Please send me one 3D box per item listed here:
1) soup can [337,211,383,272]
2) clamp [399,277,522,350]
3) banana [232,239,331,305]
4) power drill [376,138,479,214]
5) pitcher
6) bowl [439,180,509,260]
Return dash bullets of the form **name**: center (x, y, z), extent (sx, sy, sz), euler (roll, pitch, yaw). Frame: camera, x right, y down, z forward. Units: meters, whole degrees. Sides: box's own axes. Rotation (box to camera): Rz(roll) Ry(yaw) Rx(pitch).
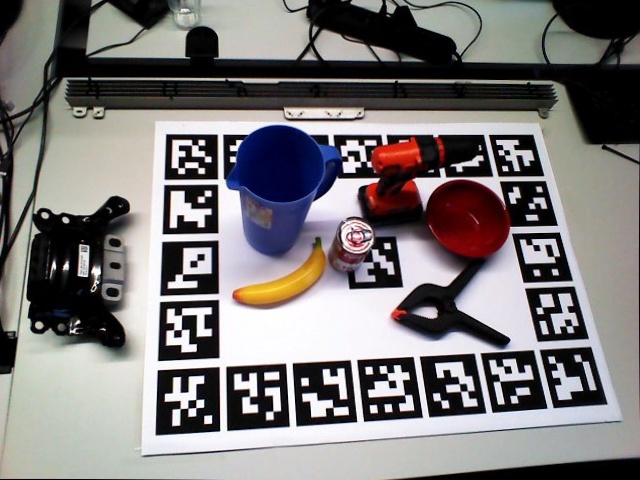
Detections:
- **soup can**: center (0.067, 0.005, 0.902), extent (0.068, 0.102, 0.067), euler (3, 60, -5)
- **clamp**: center (0.240, 0.118, 0.904), extent (0.203, 0.037, 0.165), euler (-4, 73, -9)
- **banana**: center (-0.056, 0.067, 0.898), extent (0.197, 0.039, 0.074), euler (-26, 65, -18)
- **power drill**: center (0.183, -0.112, 0.894), extent (0.184, 0.188, 0.057), euler (-6, 69, -10)
- **pitcher**: center (-0.049, -0.075, 0.842), extent (0.188, 0.243, 0.133), euler (-25, 70, -16)
- **bowl**: center (0.286, -0.031, 0.966), extent (0.162, 0.055, 0.161), euler (2, 70, -6)
